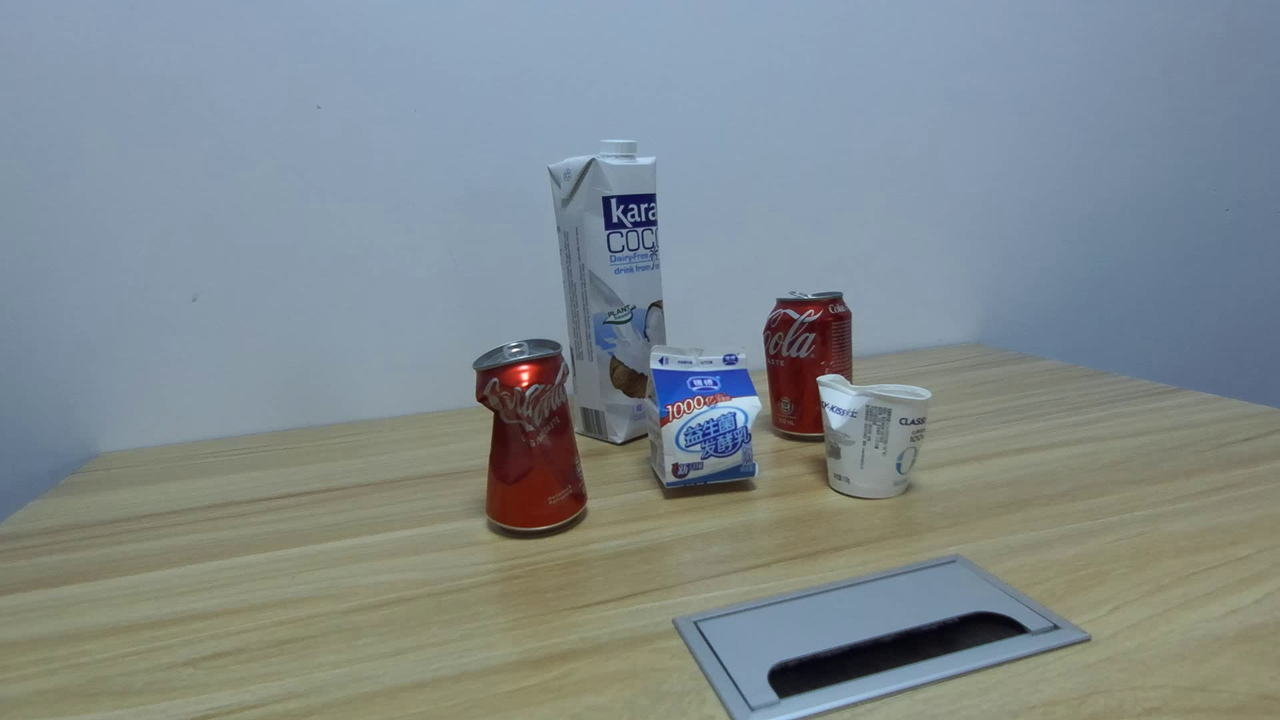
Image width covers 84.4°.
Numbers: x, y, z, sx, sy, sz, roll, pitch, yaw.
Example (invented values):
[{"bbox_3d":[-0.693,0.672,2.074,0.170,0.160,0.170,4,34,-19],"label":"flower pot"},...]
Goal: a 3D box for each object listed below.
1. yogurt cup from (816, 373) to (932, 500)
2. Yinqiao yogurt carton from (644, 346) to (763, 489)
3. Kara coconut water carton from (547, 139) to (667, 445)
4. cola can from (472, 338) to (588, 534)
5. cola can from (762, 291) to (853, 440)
[{"bbox_3d":[0.152,0.048,0.468,0.075,0.071,0.054,4,15,27],"label":"yogurt cup"},{"bbox_3d":[0.045,0.036,0.494,0.074,0.097,0.080,-5,5,-8],"label":"Yinqiao yogurt carton"},{"bbox_3d":[-0.022,-0.057,0.598,0.077,0.245,0.075,-14,14,-39],"label":"Kara coconut water carton"},{"bbox_3d":[-0.068,0.047,0.444,0.065,0.112,0.069,2,13,25],"label":"cola can"},{"bbox_3d":[0.140,0.004,0.579,0.072,0.117,0.065,-6,12,-17],"label":"cola can"}]
